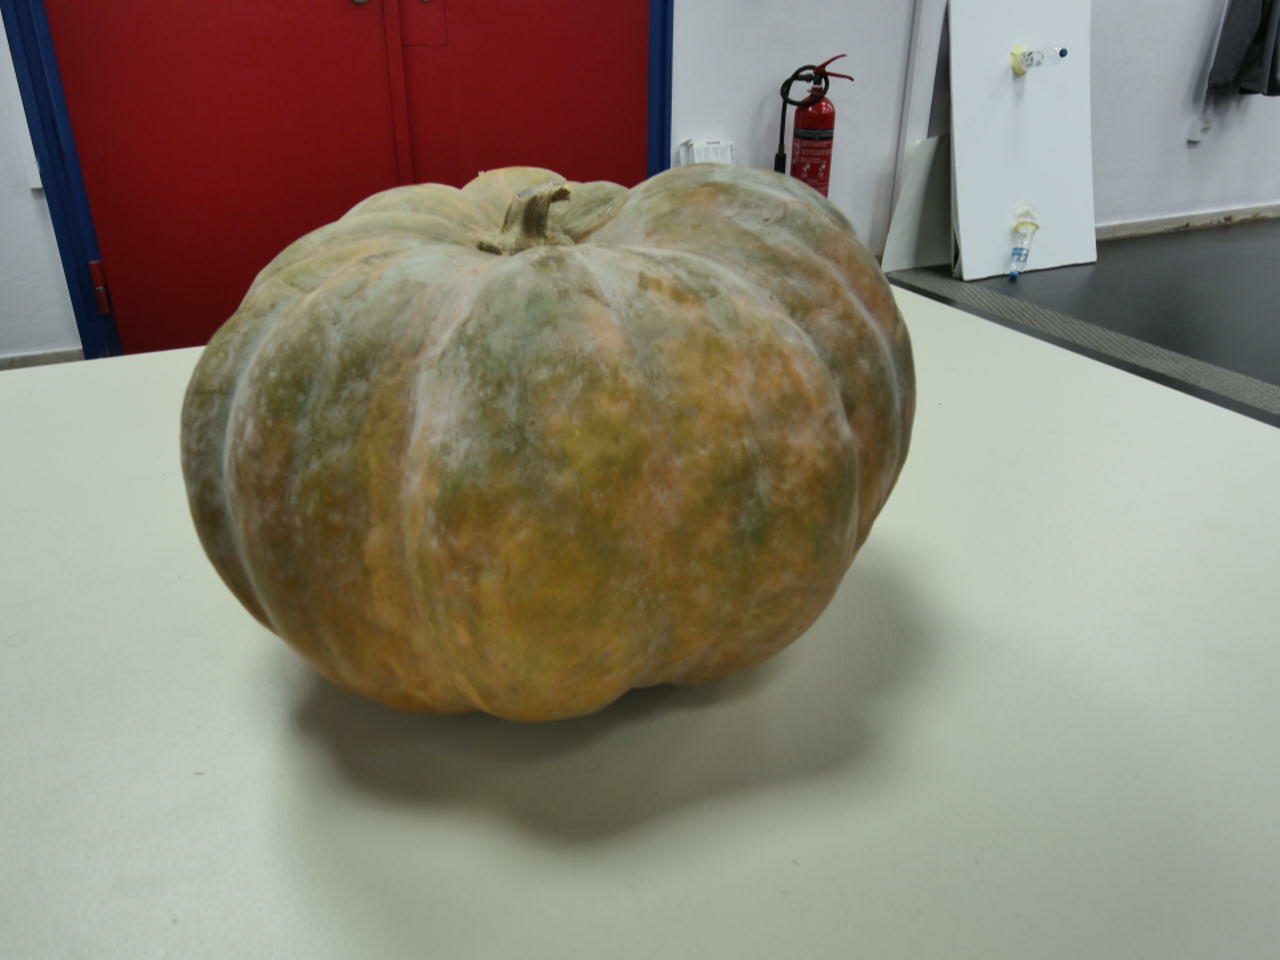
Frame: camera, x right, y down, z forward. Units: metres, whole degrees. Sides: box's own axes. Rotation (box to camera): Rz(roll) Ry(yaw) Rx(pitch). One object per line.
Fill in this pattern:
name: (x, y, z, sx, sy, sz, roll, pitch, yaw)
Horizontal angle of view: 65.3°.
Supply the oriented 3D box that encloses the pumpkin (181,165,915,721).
pumpkin: (-0.032, -0.023, 0.359, 0.252, 0.169, 0.251, 0, 24, 0)
